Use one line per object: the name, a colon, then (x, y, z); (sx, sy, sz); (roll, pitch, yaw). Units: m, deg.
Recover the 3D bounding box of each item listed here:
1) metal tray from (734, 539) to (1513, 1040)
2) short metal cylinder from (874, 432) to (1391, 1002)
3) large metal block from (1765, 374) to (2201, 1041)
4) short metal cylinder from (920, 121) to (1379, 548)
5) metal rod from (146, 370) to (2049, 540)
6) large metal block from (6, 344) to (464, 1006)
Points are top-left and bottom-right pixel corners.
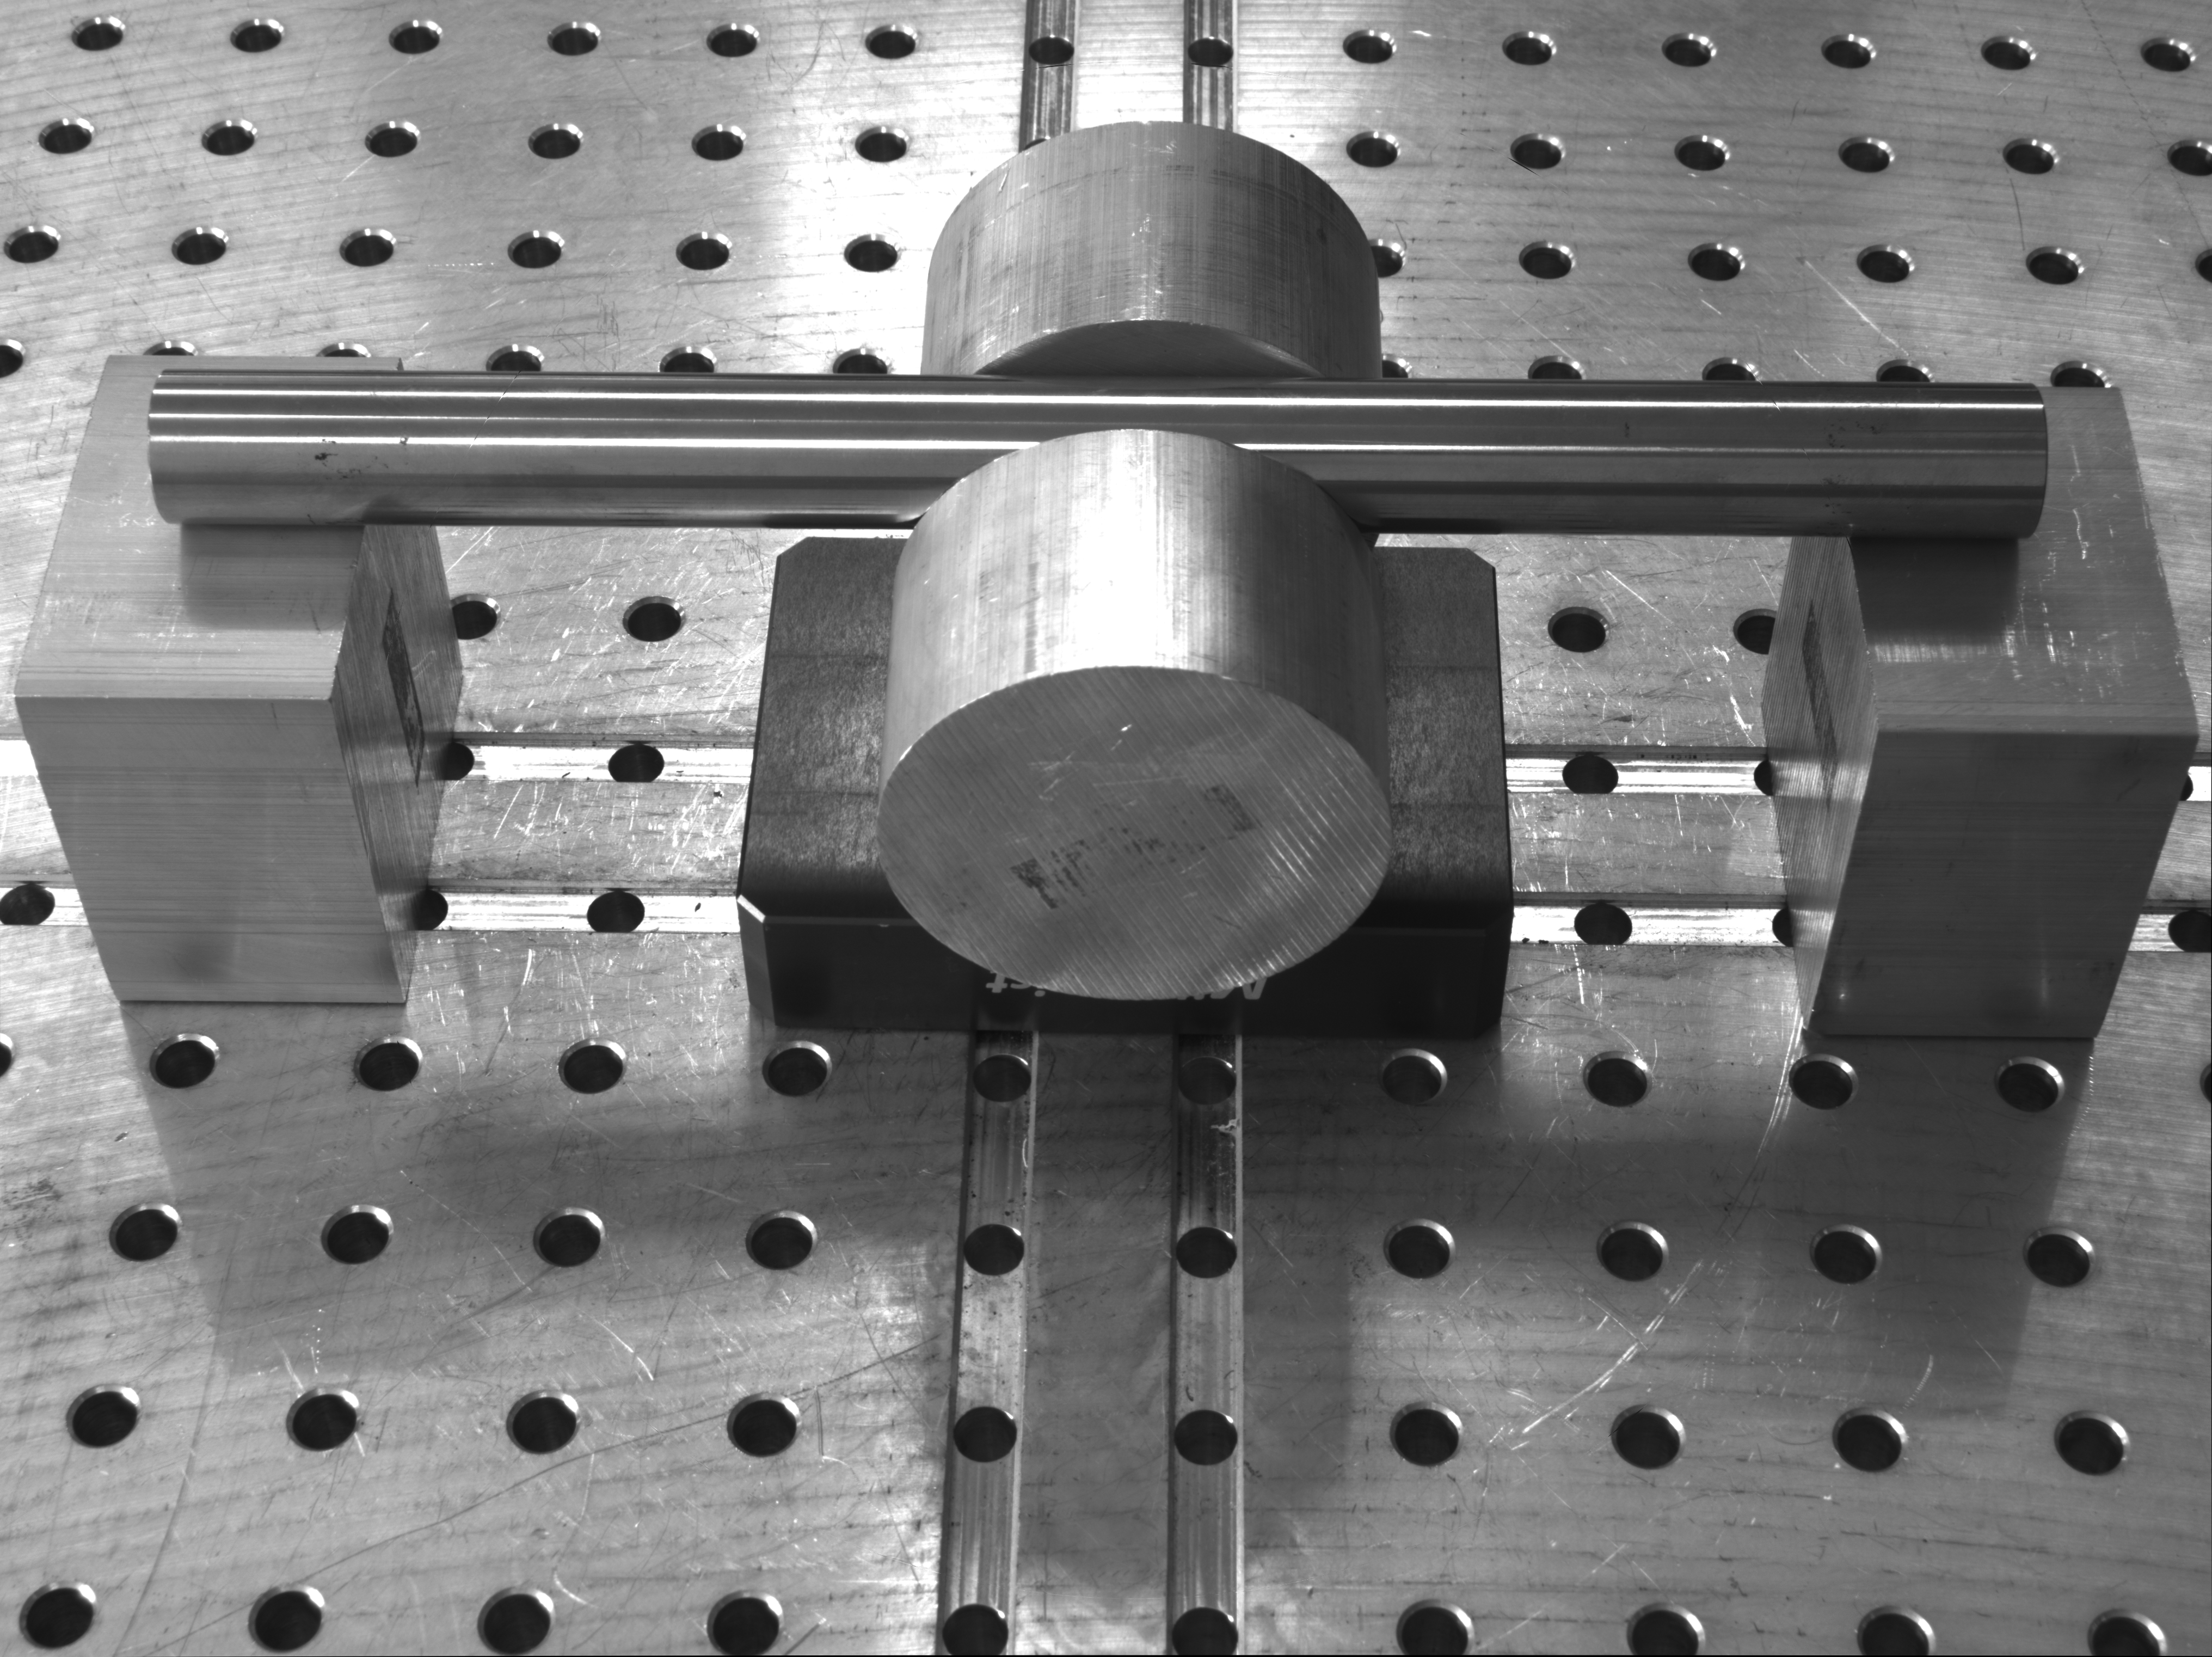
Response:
metal tray: (0.004, -0.008, 0.648); (0.130, 0.030, 0.090); (1, 50, 1)
short metal cylinder: (0.005, -0.017, 0.584); (0.080, 0.080, 0.050); (1, 50, 1)
large metal block: (0.146, -0.020, 0.624); (0.050, 0.080, 0.080); (1, 50, 1)
short metal cylinder: (0.008, -0.074, 0.633); (0.080, 0.080, 0.050); (1, 50, 1)
metal rod: (-0.001, -0.060, 0.590); (0.300, 0.025, 0.025); (0, 50, 0)
large metal block: (-0.146, -0.026, 0.629); (0.050, 0.080, 0.080); (1, 50, 1)
